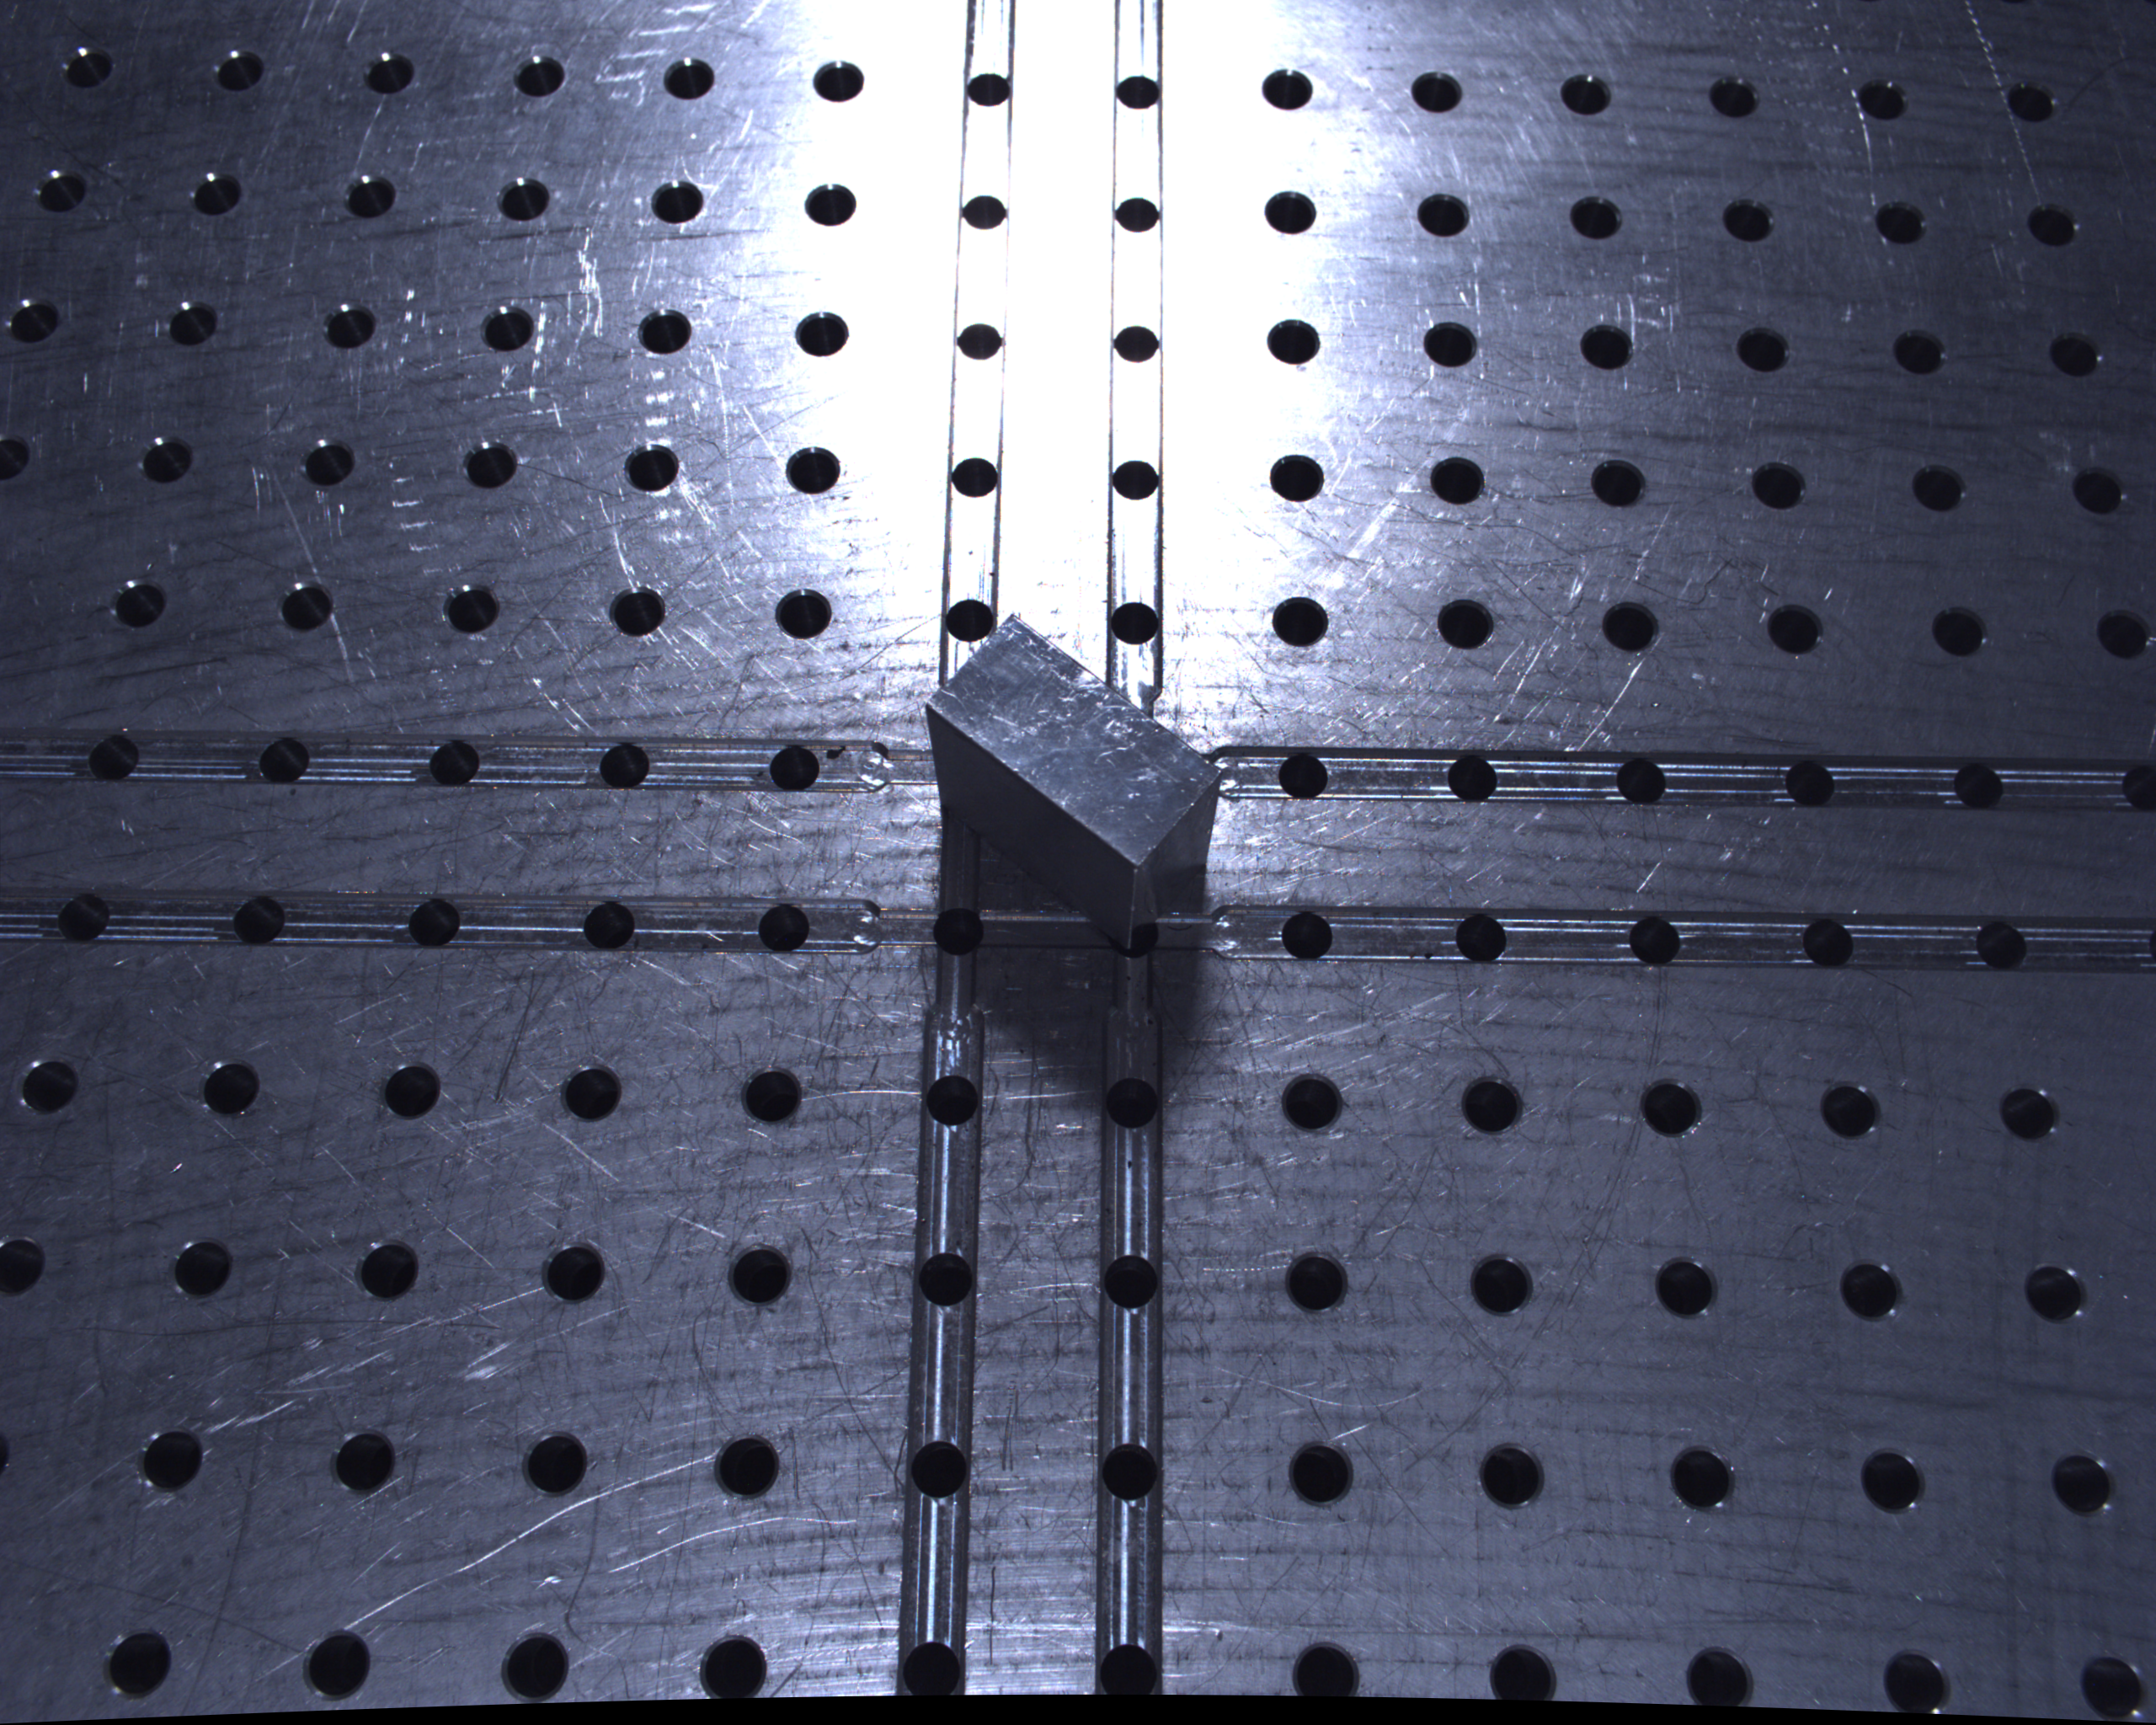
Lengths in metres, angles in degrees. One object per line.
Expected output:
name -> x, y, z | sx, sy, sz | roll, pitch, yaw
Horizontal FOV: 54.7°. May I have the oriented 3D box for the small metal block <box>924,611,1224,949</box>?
small metal block -> -0.001, -0.014, 0.403 | 0.050, 0.050, 0.025 | 38, 74, 12
